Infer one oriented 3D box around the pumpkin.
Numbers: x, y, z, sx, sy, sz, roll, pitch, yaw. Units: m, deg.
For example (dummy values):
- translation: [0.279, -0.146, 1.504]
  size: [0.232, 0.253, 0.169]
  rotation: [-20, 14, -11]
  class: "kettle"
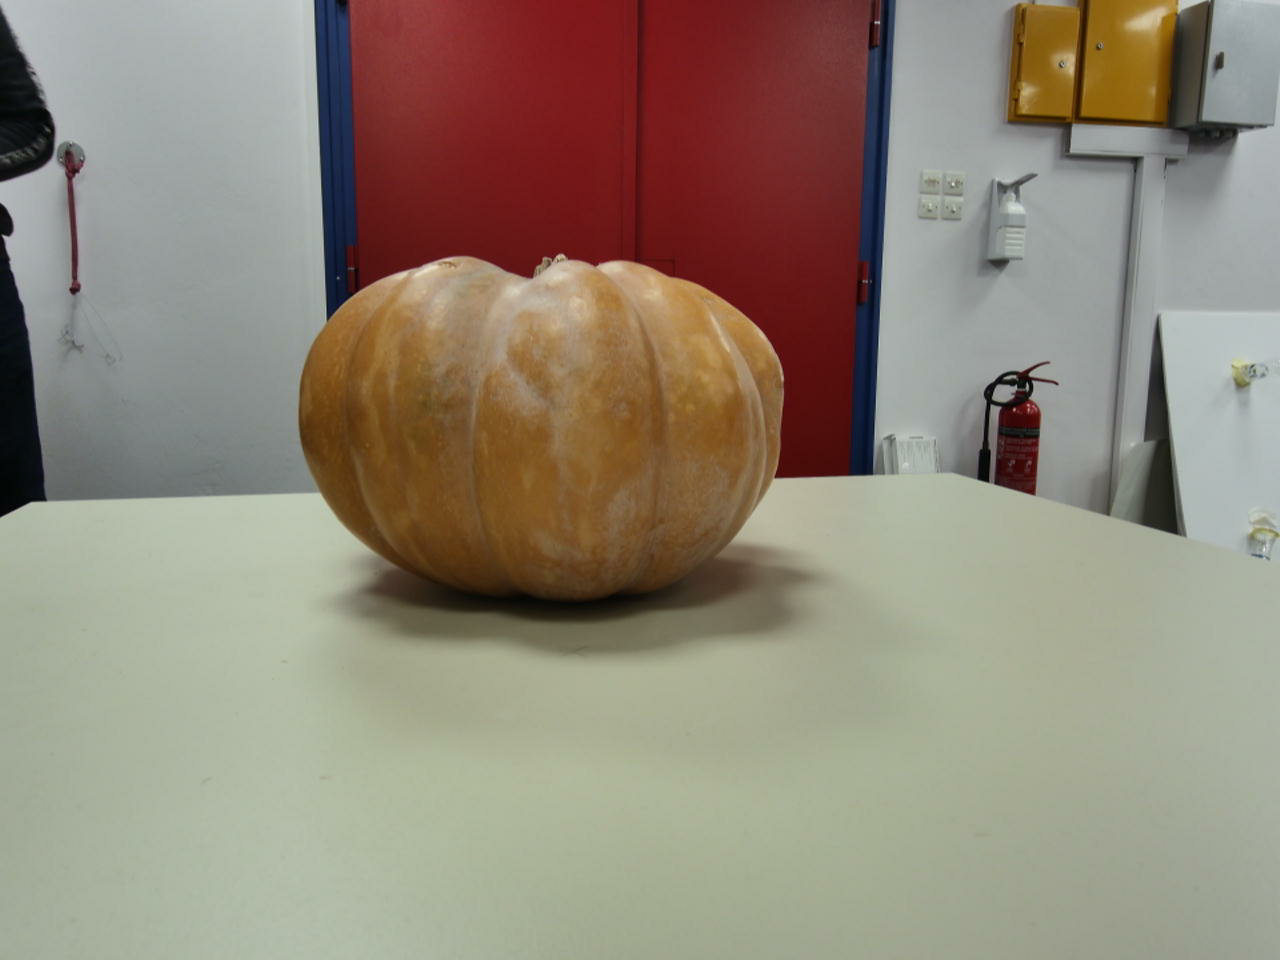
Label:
- translation: [-0.049, -0.033, 0.555]
  size: [0.277, 0.181, 0.277]
  rotation: [0, 7, 0]
  class: "pumpkin"
